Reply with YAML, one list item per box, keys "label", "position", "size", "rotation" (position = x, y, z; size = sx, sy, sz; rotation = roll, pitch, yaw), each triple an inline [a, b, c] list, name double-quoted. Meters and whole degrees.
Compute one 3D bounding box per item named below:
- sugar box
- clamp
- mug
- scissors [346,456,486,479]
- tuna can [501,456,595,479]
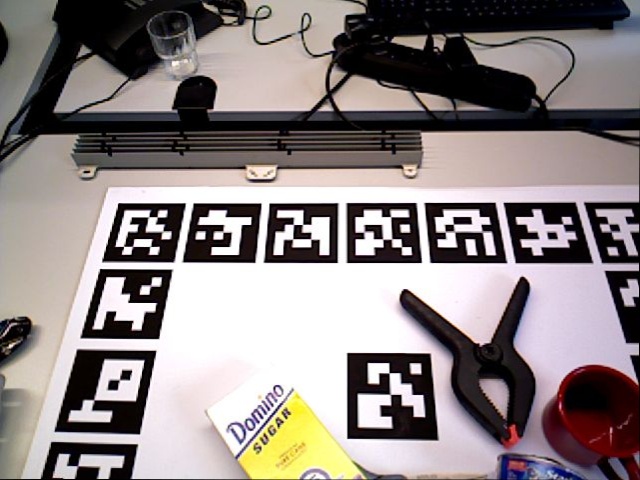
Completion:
- label: "sugar box"
  position: [-0.033, 0.223, 0.568]
  size: [0.091, 0.046, 0.176]
  rotation: [-32, 56, -17]
- label: "clamp"
  position: [0.193, 0.140, 0.633]
  size: [0.164, 0.037, 0.200]
  rotation: [-8, 59, -3]
- label: "mug"
  position: [0.280, 0.201, 0.556]
  size: [0.092, 0.083, 0.116]
  rotation: [-23, 56, -12]
- label: "scissors"
  position: [0.073, 0.252, 0.565]
  size: [0.201, 0.016, 0.086]
  rotation: [-8, 54, -4]
- label: "tuna can"
  position: [0.220, 0.242, 0.527]
  size: [0.086, 0.087, 0.033]
  rotation: [15, 59, 11]
